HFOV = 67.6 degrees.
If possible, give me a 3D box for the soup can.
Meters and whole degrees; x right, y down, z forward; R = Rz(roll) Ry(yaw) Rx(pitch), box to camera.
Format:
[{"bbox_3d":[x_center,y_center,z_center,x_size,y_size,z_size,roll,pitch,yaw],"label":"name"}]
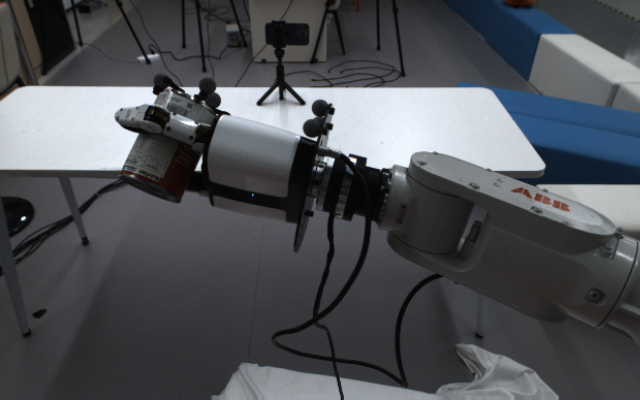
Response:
[{"bbox_3d":[-0.157,-0.055,0.512,0.067,0.067,0.101,16,75,19],"label":"soup can"}]
